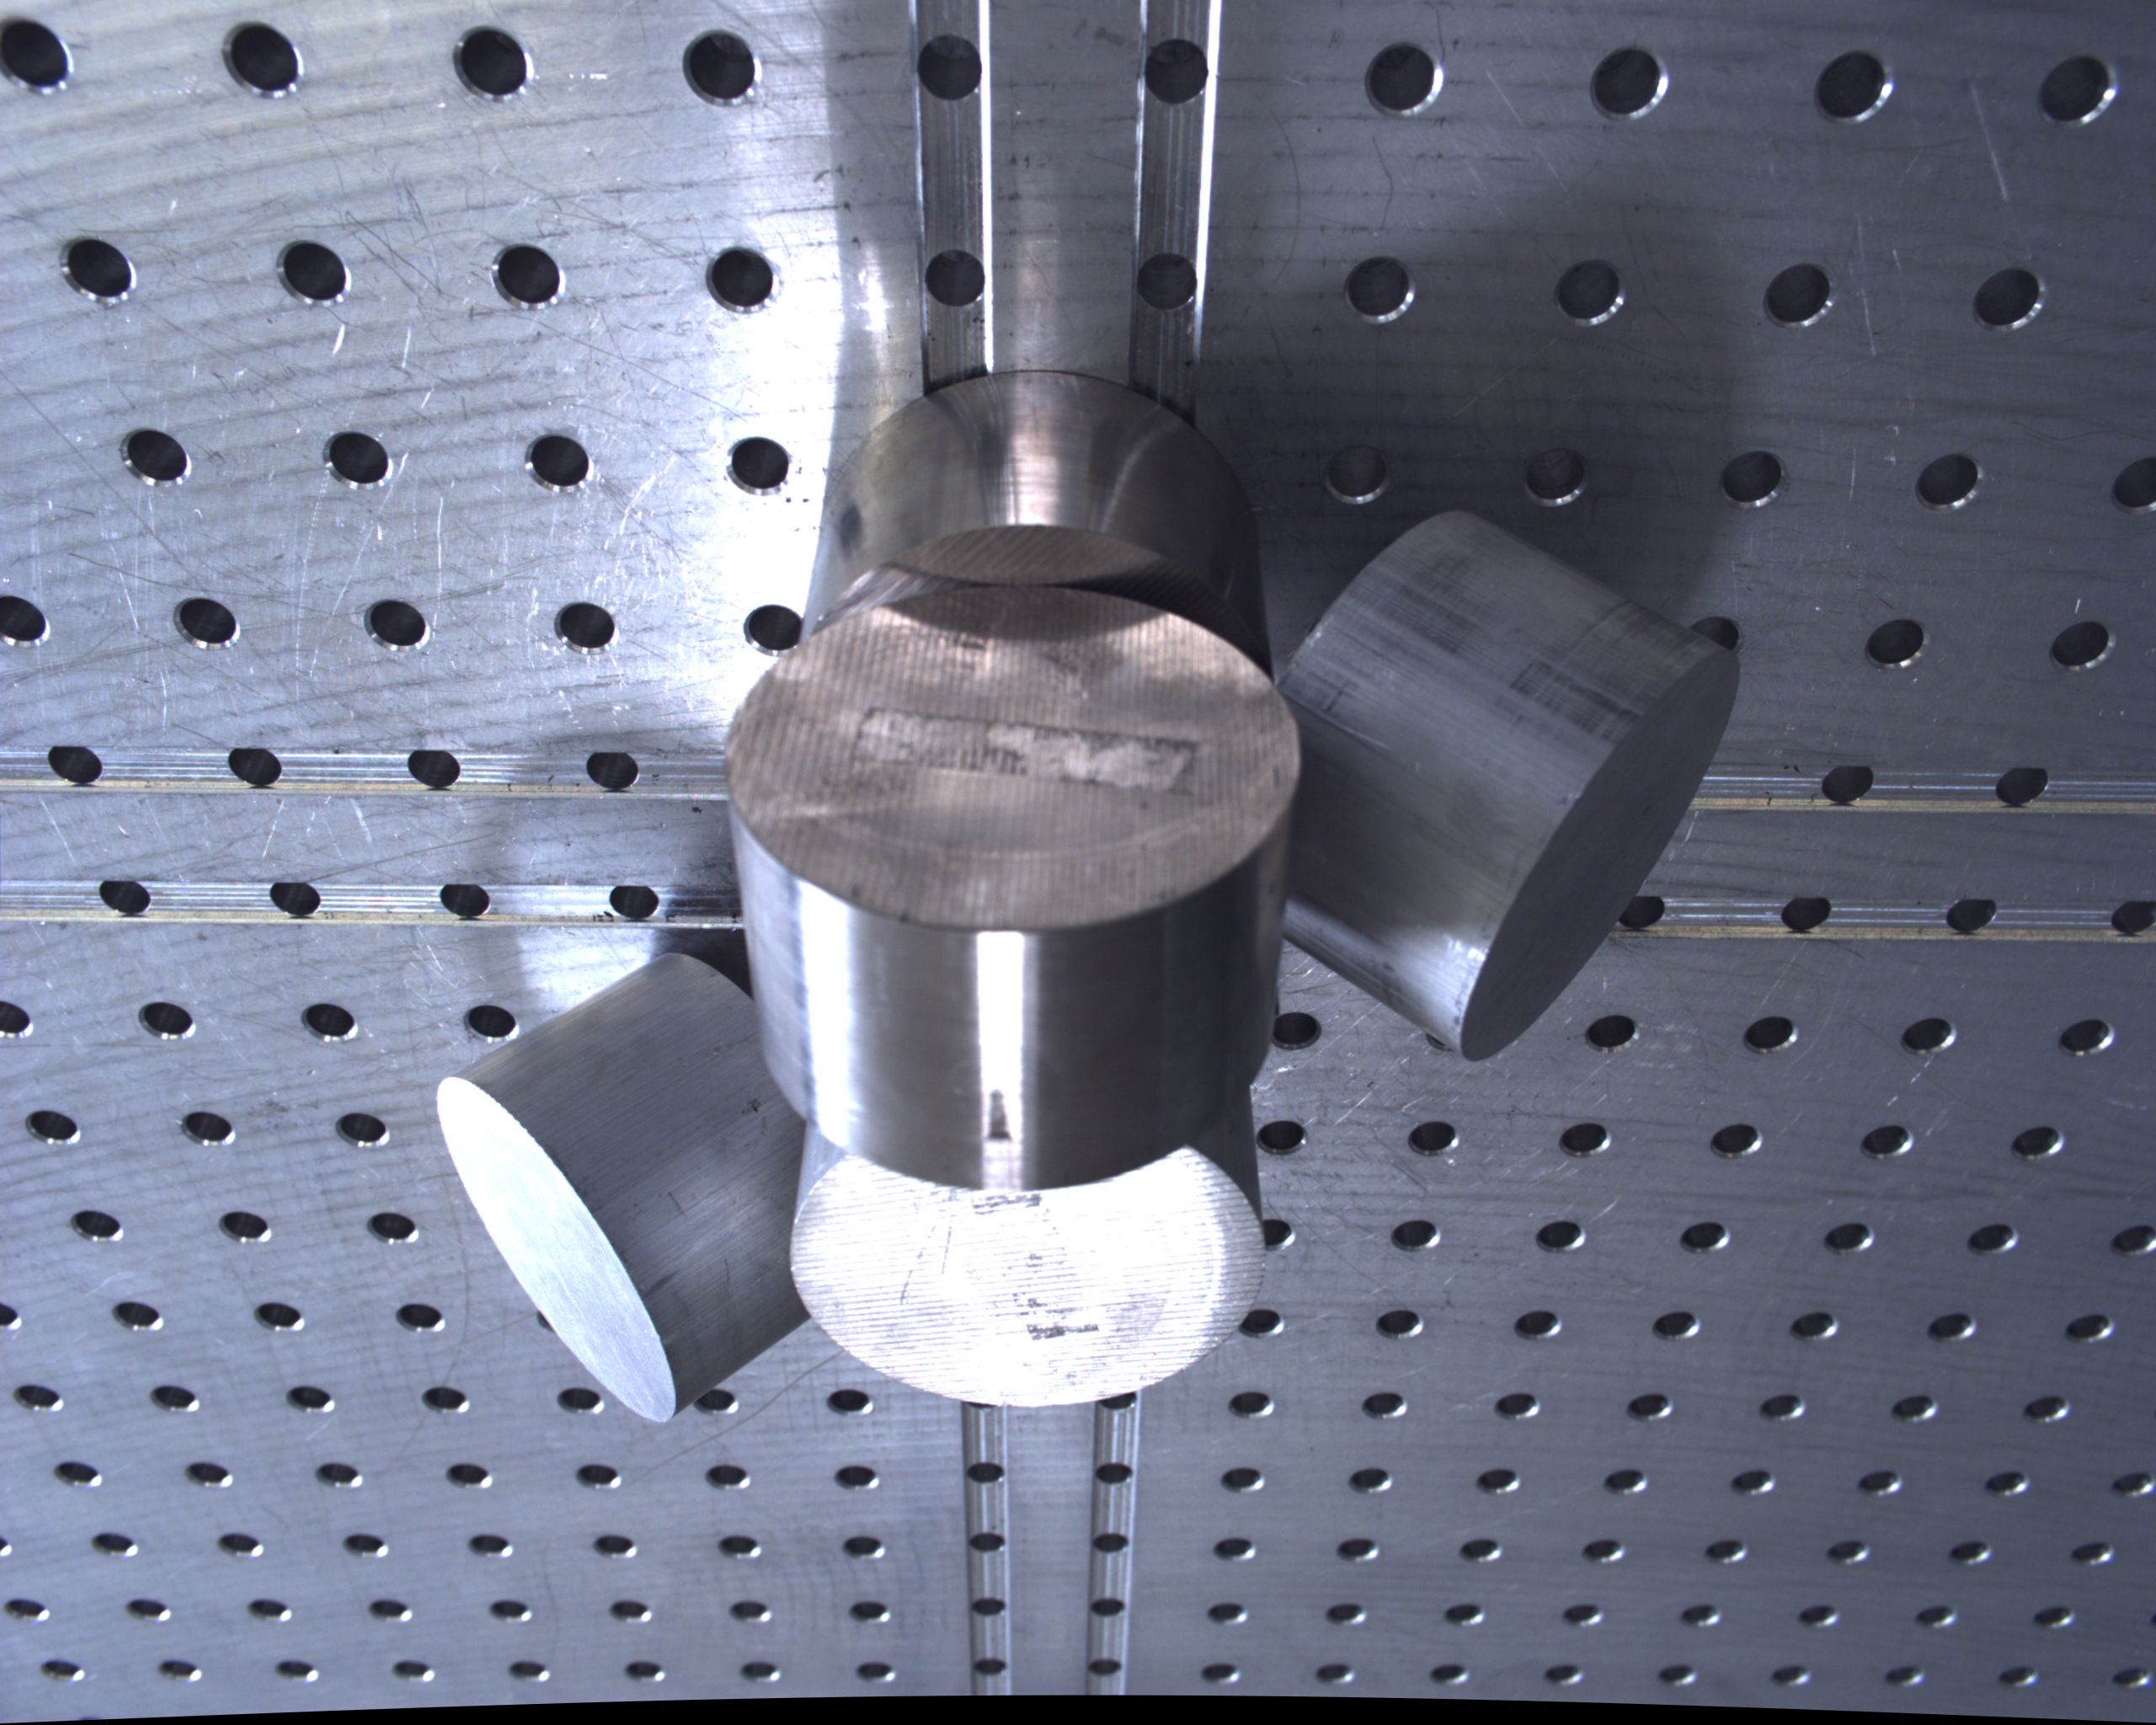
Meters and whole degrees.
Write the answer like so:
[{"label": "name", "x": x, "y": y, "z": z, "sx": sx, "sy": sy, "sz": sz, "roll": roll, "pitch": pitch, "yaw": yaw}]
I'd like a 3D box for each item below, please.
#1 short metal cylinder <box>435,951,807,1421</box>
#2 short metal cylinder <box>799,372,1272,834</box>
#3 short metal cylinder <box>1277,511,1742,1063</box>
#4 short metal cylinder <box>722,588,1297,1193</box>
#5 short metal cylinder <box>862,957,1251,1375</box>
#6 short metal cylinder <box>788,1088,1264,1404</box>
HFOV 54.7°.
[{"label": "short metal cylinder", "x": -0.085, "y": 0.065, "z": 0.422, "sx": 0.050, "sy": 0.080, "sz": 0.079, "roll": -33, "pitch": 139, "yaw": -31}, {"label": "short metal cylinder", "x": -0.008, "y": -0.037, "z": 0.363, "sx": 0.081, "sy": 0.050, "sz": 0.079, "roll": 0, "pitch": 131, "yaw": 0}, {"label": "short metal cylinder", "x": 0.068, "y": -0.013, "z": 0.356, "sx": 0.050, "sy": 0.081, "sz": 0.079, "roll": 35, "pitch": 134, "yaw": 24}, {"label": "short metal cylinder", "x": -0.010, "y": 0.002, "z": 0.310, "sx": 0.081, "sy": 0.080, "sz": 0.050, "roll": 0, "pitch": 130, "yaw": -1}, {"label": "short metal cylinder", "x": -0.005, "y": 0.066, "z": 0.451, "sx": 0.081, "sy": 0.050, "sz": 0.079, "roll": -1, "pitch": 131, "yaw": 0}, {"label": "short metal cylinder", "x": -0.009, "y": 0.052, "z": 0.373, "sx": 0.081, "sy": 0.050, "sz": 0.079, "roll": 0, "pitch": 130, "yaw": 0}]
